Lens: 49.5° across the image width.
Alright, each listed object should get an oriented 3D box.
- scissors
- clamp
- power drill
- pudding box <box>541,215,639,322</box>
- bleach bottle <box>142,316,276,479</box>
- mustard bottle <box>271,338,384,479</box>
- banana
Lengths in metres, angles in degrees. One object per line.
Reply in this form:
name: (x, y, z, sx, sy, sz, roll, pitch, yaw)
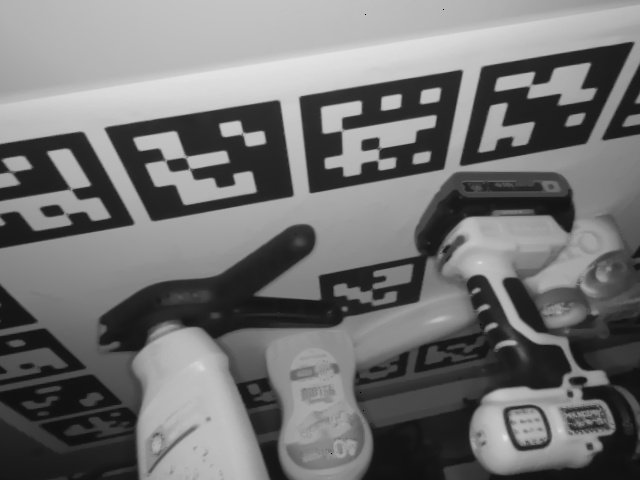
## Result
scissors: (0.257, 0.083, 0.582, 0.205, 0.016, 0.086, 10, 135, -22)
clamp: (-0.076, 0.058, 0.572, 0.203, 0.037, 0.164, -12, 143, 1)
power drill: (0.190, 0.051, 0.494, 0.186, 0.187, 0.056, -3, 151, -18)
pudding box: (0.237, 0.029, 0.613, 0.114, 0.090, 0.038, -6, 151, -8)
bleach bottle: (-0.093, 0.156, 0.521, 0.102, 0.251, 0.068, -25, 147, 6)
mustard bottle: (0.011, 0.182, 0.672, 0.097, 0.192, 0.057, 1, 143, -16)
banana: (0.107, 0.121, 0.733, 0.194, 0.039, 0.075, -34, 157, 26)
